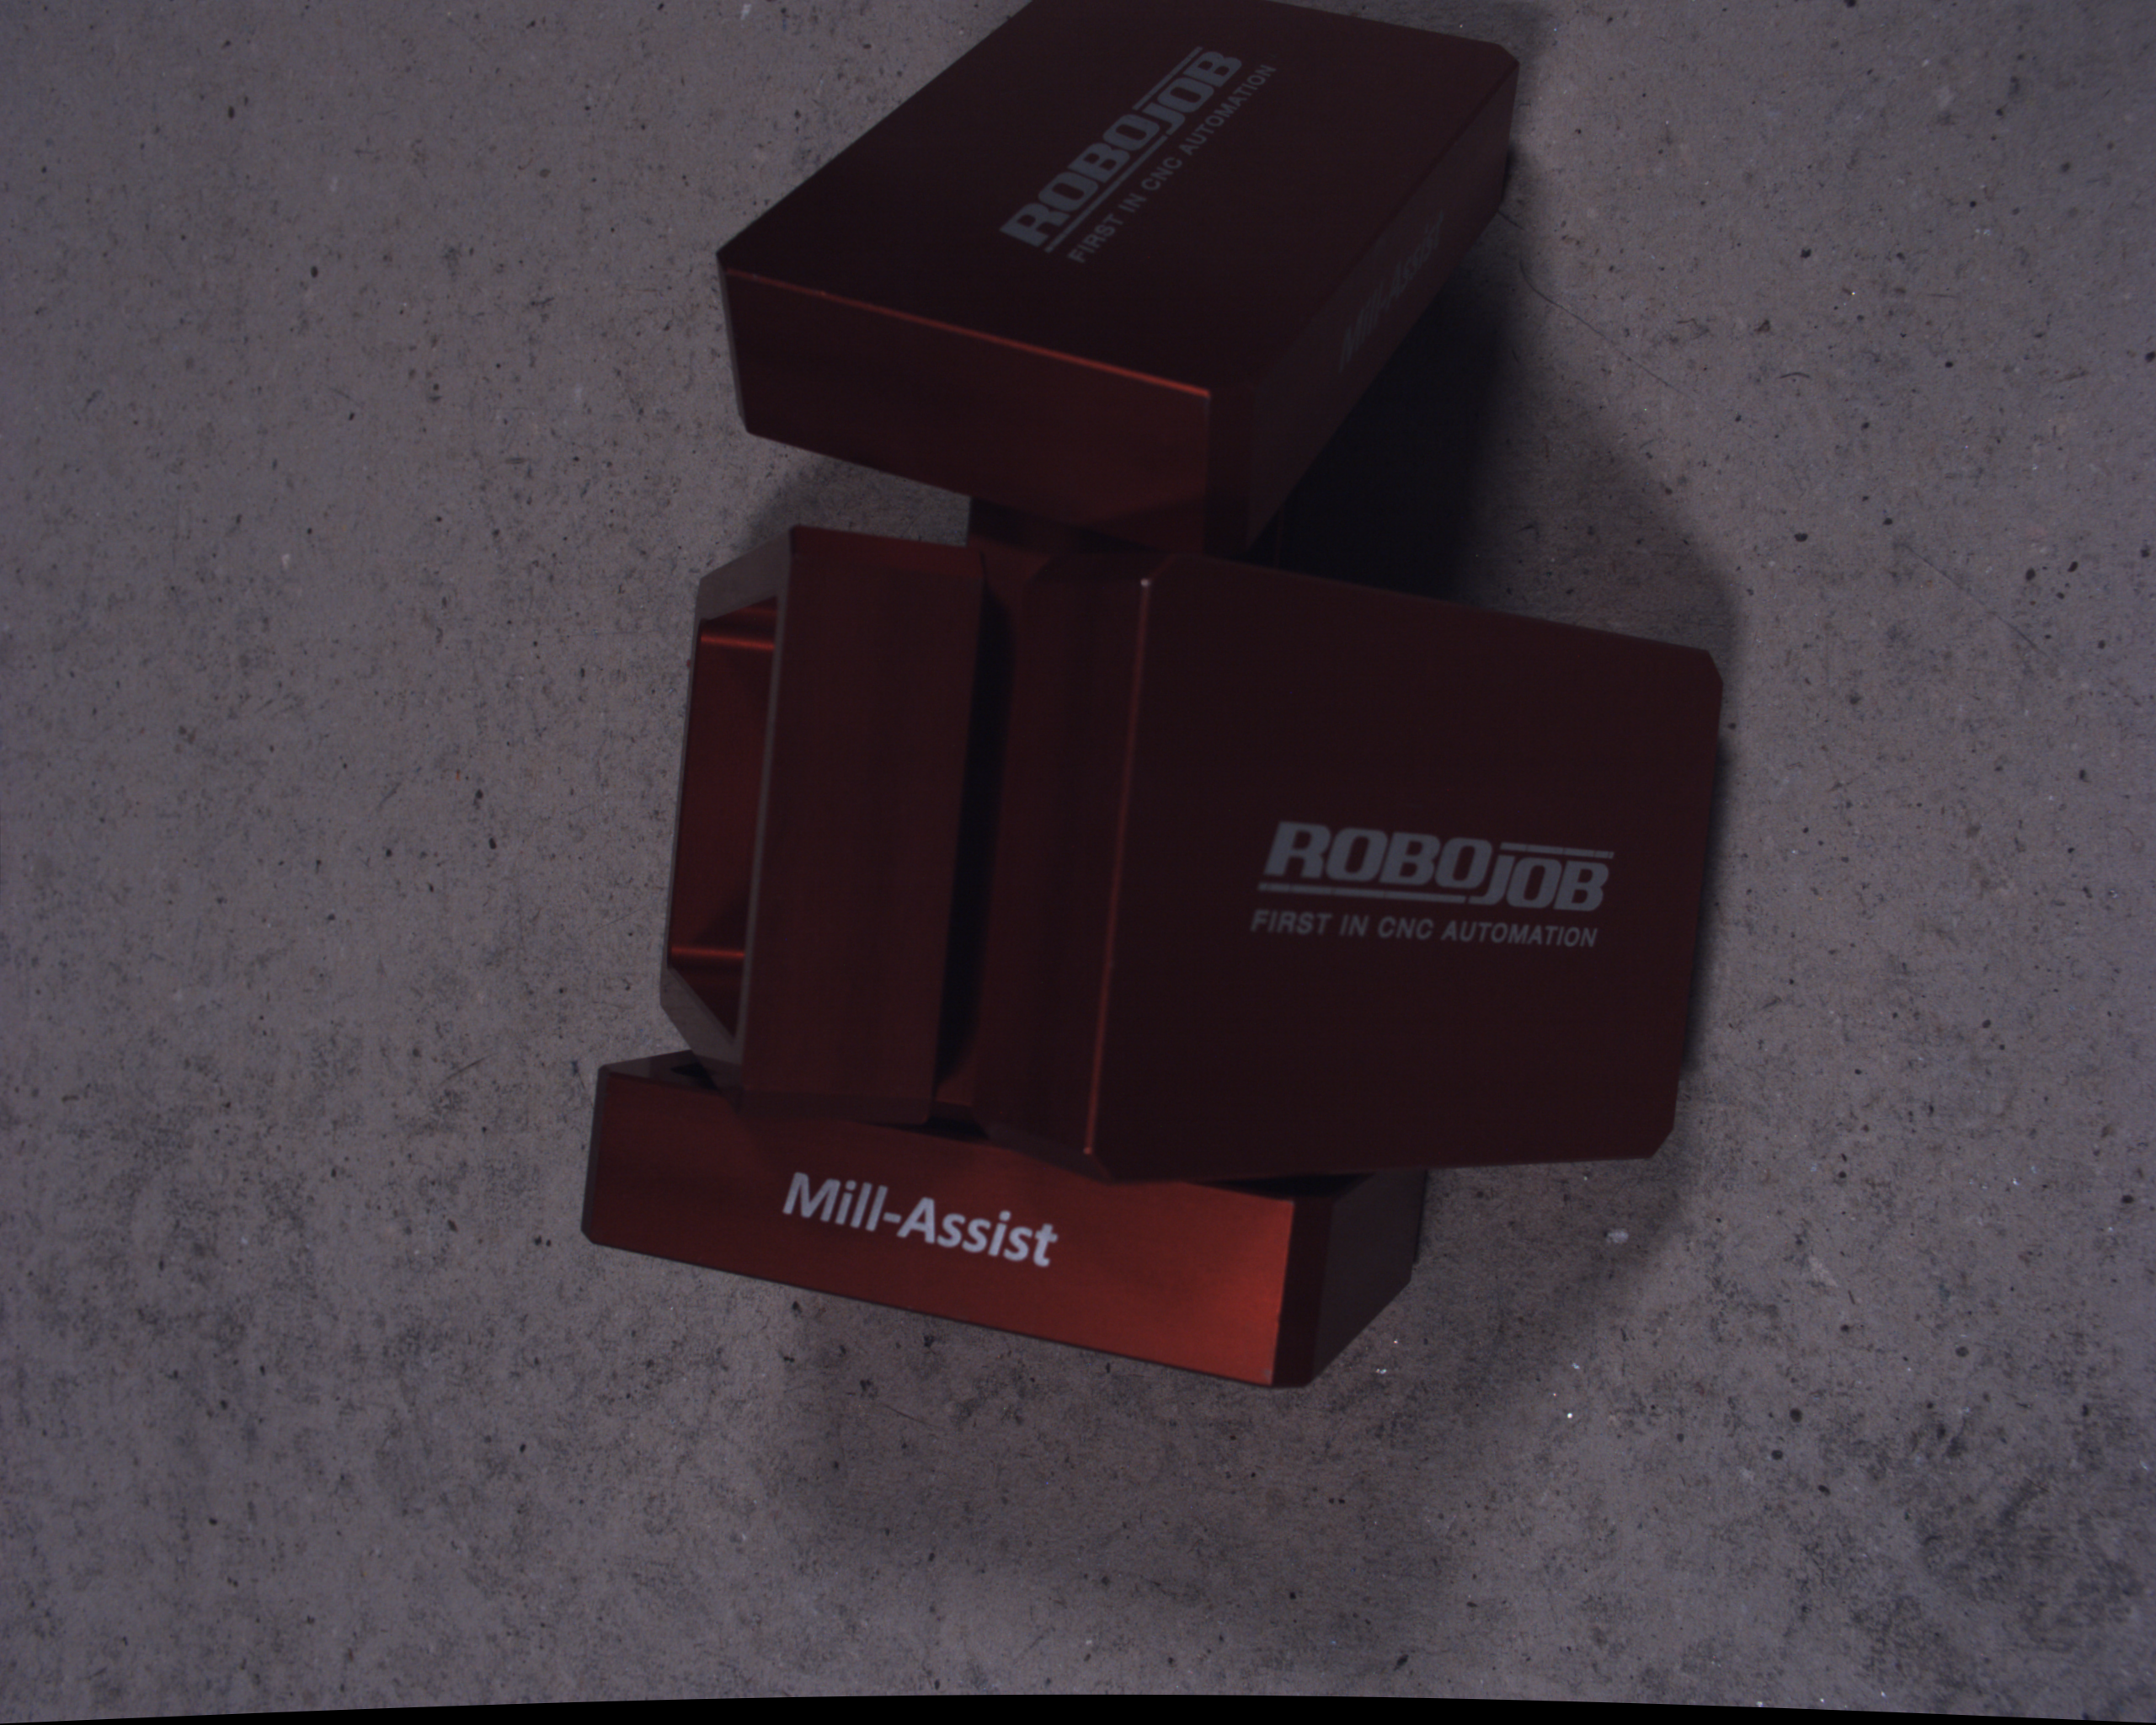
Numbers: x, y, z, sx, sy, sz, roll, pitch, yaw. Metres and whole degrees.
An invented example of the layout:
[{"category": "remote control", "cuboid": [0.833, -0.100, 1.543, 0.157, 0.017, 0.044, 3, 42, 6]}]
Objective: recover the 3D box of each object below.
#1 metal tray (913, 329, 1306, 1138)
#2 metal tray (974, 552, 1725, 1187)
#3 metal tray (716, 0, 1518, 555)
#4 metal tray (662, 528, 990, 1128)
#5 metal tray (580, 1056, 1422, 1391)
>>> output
[{"category": "metal tray", "cuboid": [0.009, -0.021, 0.371, 0.030, 0.090, 0.129, 8, 93, 19]}, {"category": "metal tray", "cuboid": [0.049, 0.003, 0.339, 0.030, 0.131, 0.089, 9, 94, 53]}, {"category": "metal tray", "cuboid": [0.011, -0.109, 0.357, 0.090, 0.130, 0.030, 19, 137, 18]}, {"category": "metal tray", "cuboid": [-0.050, -0.009, 0.375, 0.030, 0.130, 0.089, 5, 92, -17]}, {"category": "metal tray", "cuboid": [-0.010, 0.058, 0.378, 0.130, 0.090, 0.030, 8, 93, 19]}]
